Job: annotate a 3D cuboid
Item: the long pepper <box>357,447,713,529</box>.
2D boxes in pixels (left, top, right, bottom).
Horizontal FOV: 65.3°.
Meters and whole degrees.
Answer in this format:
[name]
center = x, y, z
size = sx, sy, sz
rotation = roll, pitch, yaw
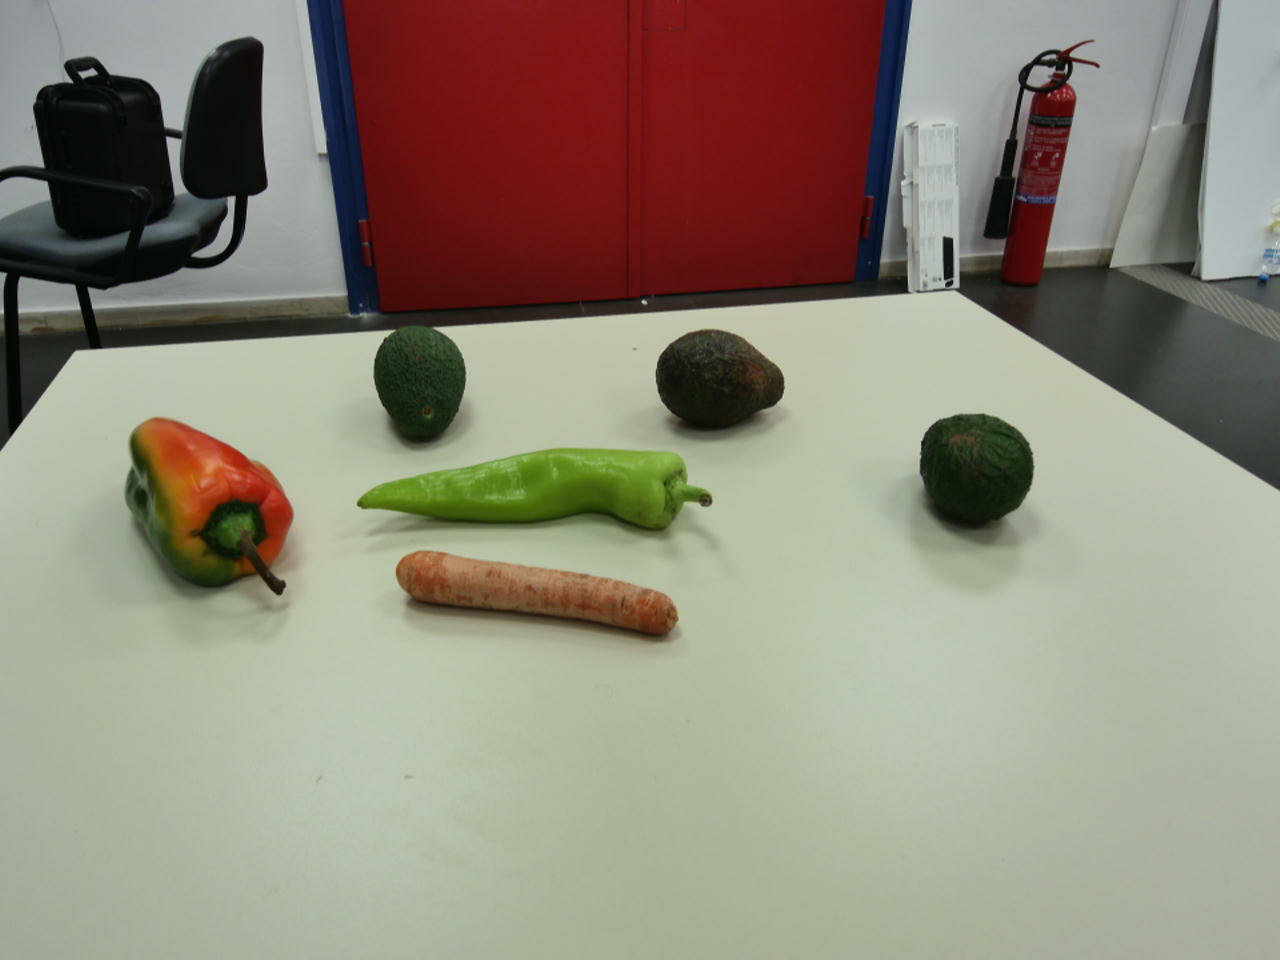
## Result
[long pepper]
center = -0.058, 0.004, 0.591
size = 0.205, 0.045, 0.065
rotation = 2, 27, 3
